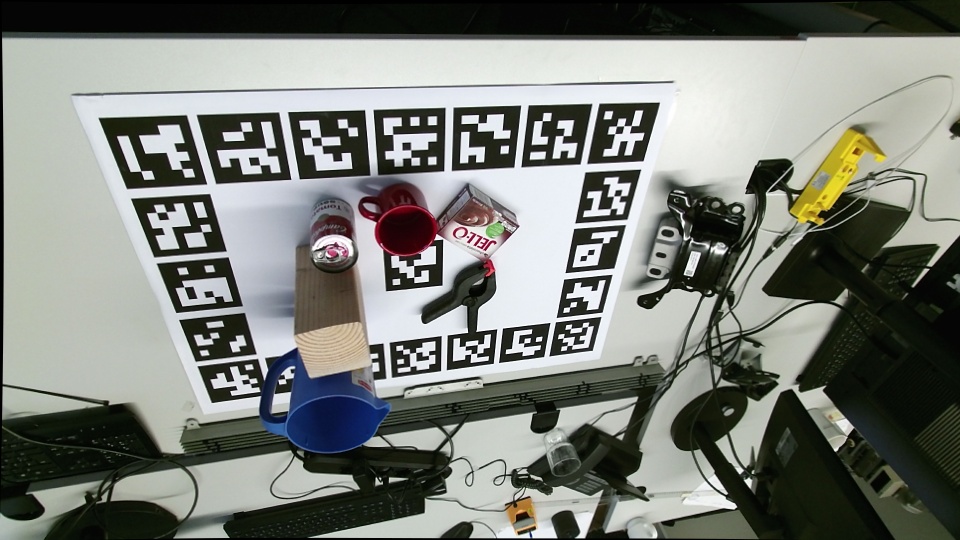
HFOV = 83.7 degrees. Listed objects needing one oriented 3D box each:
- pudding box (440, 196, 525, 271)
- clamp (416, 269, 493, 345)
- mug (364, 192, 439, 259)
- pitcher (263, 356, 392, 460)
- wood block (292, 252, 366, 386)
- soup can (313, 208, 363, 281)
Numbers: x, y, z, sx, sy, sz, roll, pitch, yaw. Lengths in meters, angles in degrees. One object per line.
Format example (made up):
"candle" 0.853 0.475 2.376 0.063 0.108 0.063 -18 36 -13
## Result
"pudding box" 0.004 -0.060 0.897 0.114 0.038 0.090 30 110 -34
"clamp" -0.029 0.068 0.992 0.122 0.036 0.165 24 116 -23
"mug" -0.124 -0.071 0.817 0.117 0.081 0.093 28 116 -34
"pitcher" -0.252 0.173 0.862 0.189 0.241 0.133 -8 130 -15
"wood block" -0.224 0.064 0.807 0.090 0.205 0.091 -6 128 -9
"soup can" -0.213 -0.040 0.798 0.068 0.101 0.068 -8 126 -12
